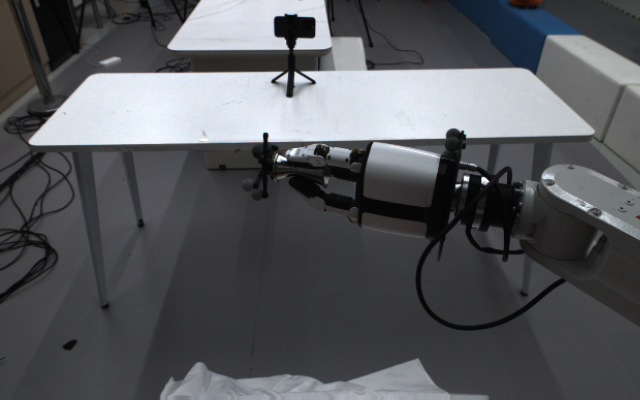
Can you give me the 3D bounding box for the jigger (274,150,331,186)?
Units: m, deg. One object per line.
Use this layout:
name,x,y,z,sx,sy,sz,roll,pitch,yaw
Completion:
jigger,-0.017,-0.045,0.633,0.071,0.043,0.043,5,35,12
